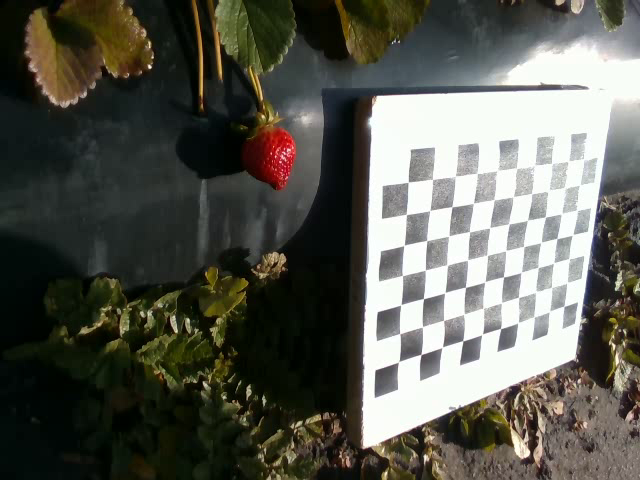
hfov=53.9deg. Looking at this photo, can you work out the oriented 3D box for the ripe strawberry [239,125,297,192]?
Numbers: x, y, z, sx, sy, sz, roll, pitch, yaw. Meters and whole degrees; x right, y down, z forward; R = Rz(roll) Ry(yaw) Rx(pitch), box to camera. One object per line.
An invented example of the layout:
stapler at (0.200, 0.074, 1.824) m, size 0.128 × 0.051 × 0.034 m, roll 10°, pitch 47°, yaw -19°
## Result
ripe strawberry at (-0.029, -0.047, 0.374) m, size 0.040 × 0.044 × 0.036 m, roll -30°, pitch 16°, yaw -25°
